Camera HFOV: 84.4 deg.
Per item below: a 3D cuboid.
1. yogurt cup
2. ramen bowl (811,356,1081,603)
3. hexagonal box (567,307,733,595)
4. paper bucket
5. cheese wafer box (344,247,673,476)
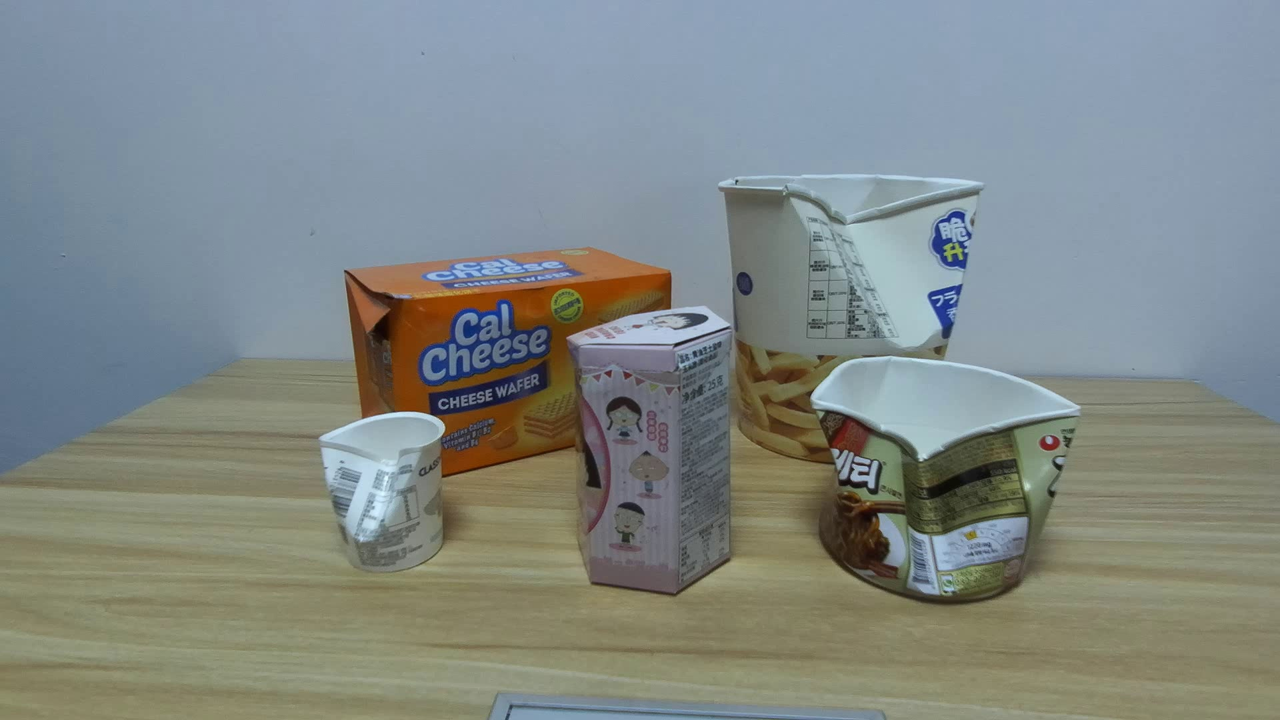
[{"bbox_3d":[-0.139,0.074,0.398,0.067,0.070,0.067,-1,17,1],"label":"yogurt cup"},{"bbox_3d":[0.165,0.060,0.401,0.137,0.098,0.137,2,16,0],"label":"ramen bowl"},{"bbox_3d":[0.009,0.045,0.381,0.085,0.135,0.092,-4,19,-12],"label":"hexagonal box"},{"bbox_3d":[0.143,-0.036,0.538,0.168,0.202,0.163,11,22,36],"label":"paper bucket"},{"bbox_3d":[-0.104,-0.012,0.565,0.228,0.137,0.149,-10,21,-29],"label":"cheese wafer box"}]
